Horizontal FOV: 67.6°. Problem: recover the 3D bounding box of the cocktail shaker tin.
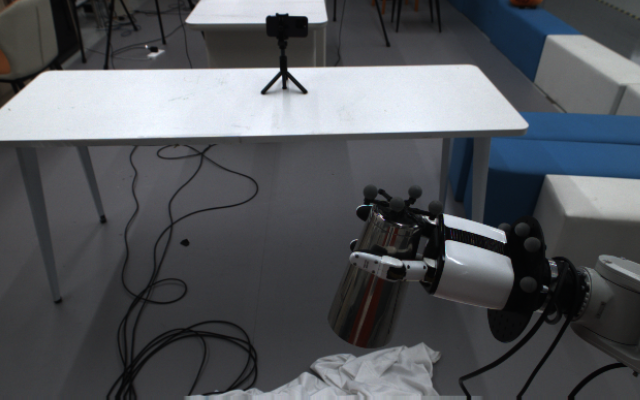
[{"bbox_3d":[0.078,0.088,0.616,0.093,0.170,0.093,12,25,-6],"label":"cocktail shaker tin"}]
